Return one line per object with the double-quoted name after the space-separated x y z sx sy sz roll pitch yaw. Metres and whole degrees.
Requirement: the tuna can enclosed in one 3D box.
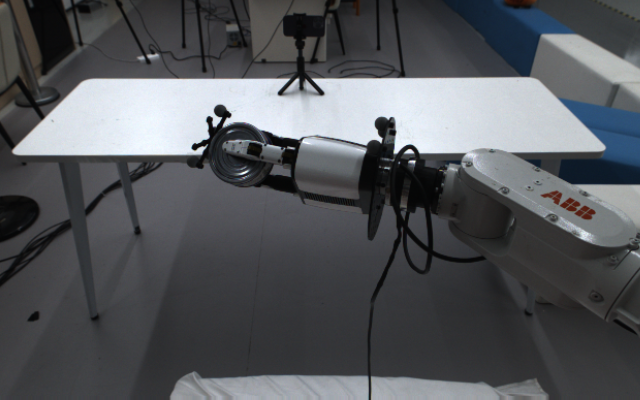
-0.104 -0.058 0.657 0.085 0.085 0.034 8 -2 8 "tuna can"
